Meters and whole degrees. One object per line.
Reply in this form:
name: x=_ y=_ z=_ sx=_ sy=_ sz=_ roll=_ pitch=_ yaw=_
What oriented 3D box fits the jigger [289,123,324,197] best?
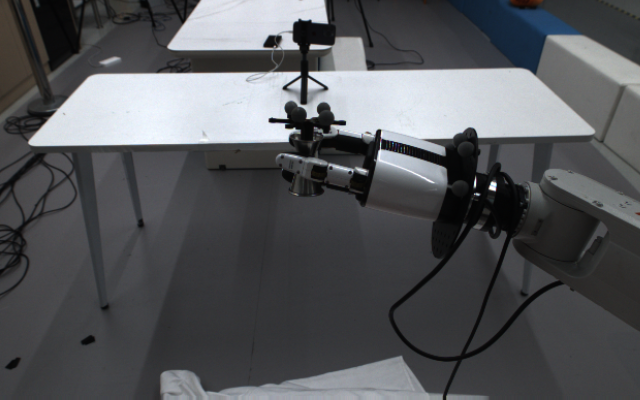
jigger: x=-0.016 y=-0.044 z=0.584 sx=0.043 sy=0.071 sz=0.043 roll=1 pitch=20 yaw=-1
